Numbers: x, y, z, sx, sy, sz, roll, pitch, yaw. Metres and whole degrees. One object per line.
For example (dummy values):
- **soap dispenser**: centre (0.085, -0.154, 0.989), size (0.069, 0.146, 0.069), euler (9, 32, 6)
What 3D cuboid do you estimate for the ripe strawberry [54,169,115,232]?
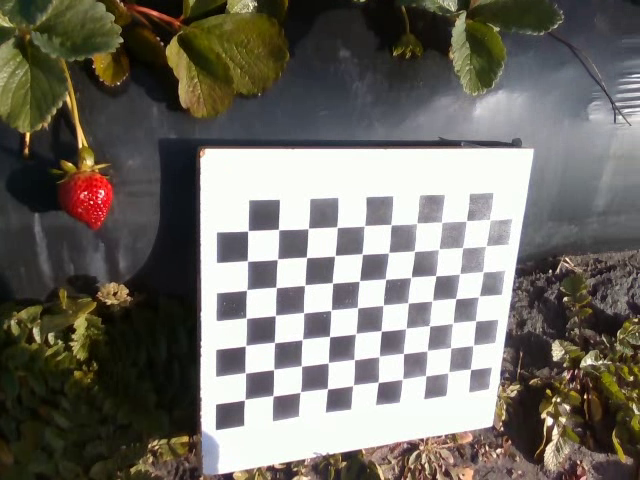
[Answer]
- **ripe strawberry**: centre (-0.152, -0.024, 0.411), size (0.040, 0.044, 0.036), euler (-21, 9, -12)
